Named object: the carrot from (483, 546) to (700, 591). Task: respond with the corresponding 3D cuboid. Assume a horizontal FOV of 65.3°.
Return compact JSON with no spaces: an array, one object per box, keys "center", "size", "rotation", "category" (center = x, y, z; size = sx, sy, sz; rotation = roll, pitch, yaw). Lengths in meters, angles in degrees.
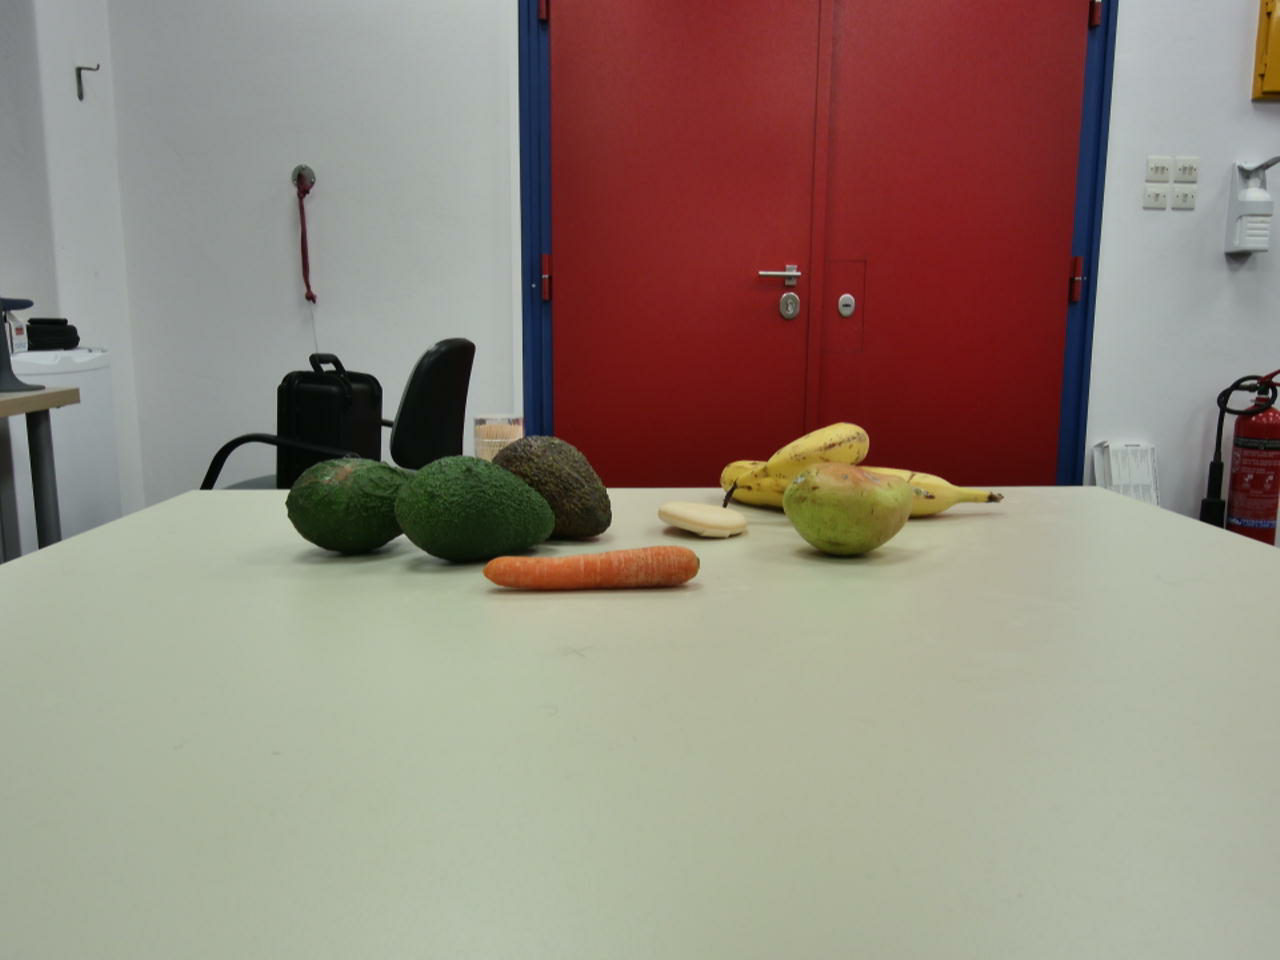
[{"center":[-0.027,0.050,0.567],"size":[0.122,0.023,0.024],"rotation":[0,7,-4],"category":"carrot"}]
